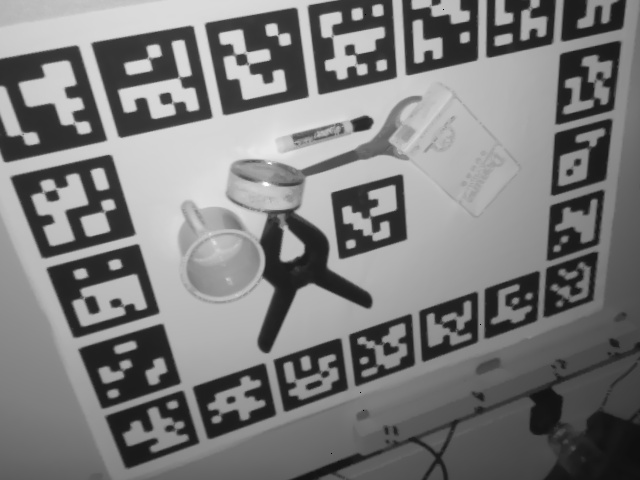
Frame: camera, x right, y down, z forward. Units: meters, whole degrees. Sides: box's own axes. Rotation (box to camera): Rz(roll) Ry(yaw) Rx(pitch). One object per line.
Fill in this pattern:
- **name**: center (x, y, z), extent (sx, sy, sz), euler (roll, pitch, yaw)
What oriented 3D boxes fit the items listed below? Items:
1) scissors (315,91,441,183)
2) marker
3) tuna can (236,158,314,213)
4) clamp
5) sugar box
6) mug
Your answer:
- **scissors**: center (0.084, -0.108, 0.827), extent (0.204, 0.016, 0.087), euler (-24, 125, -6)
- **marker**: center (0.034, -0.132, 0.799), extent (0.122, 0.019, 0.019), euler (-19, 119, -12)
- **tuna can**: center (-0.048, -0.062, 0.764), extent (0.087, 0.085, 0.033), euler (0, 115, -20)
- **clamp**: center (-0.009, 0.040, 0.869), extent (0.166, 0.036, 0.202), euler (-25, 120, -7)
- **sugar box**: center (0.193, -0.109, 0.849), extent (0.092, 0.045, 0.177), euler (-48, 127, 7)
- **mug**: center (-0.098, -0.002, 0.780), extent (0.093, 0.081, 0.117), euler (-39, 125, 2)
